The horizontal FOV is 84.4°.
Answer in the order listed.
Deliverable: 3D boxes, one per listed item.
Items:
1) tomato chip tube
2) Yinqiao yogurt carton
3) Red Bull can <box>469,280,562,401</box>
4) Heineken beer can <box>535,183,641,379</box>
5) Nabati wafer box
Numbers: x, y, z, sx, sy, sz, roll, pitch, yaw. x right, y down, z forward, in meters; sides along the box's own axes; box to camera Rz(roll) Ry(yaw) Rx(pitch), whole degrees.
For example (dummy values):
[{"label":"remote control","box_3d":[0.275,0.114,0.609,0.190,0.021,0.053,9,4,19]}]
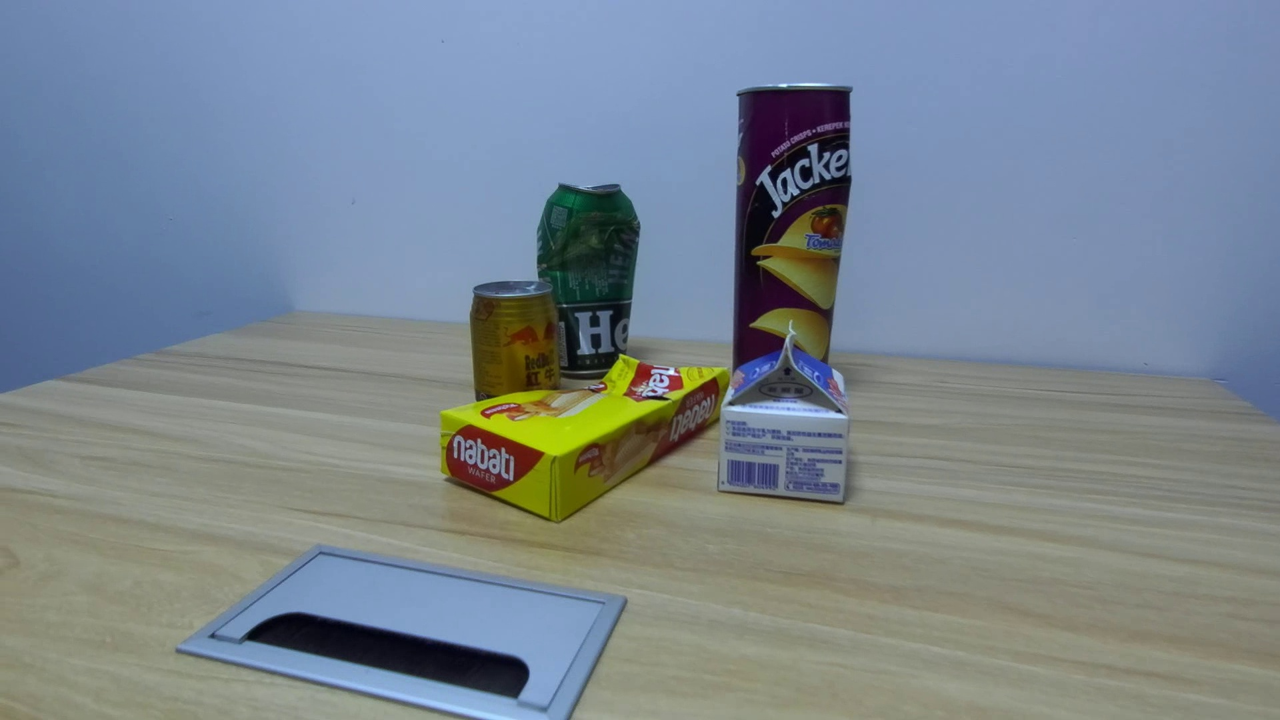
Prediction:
[{"label":"tomato chip tube","box_3d":[0.114,-0.085,0.548,0.076,0.235,0.077,0,14,-2]},{"label":"Yinqiao yogurt carton","box_3d":[0.088,0.025,0.422,0.073,0.092,0.076,3,15,13]},{"label":"Red Bull can","box_3d":[-0.096,-0.009,0.543,0.067,0.093,0.067,0,16,0]},{"label":"Heineken beer can","box_3d":[-0.047,-0.069,0.615,0.077,0.164,0.066,10,20,21]},{"label":"Nabati wafer box","box_3d":[-0.027,0.036,0.477,0.106,0.042,0.205,12,19,32]}]
